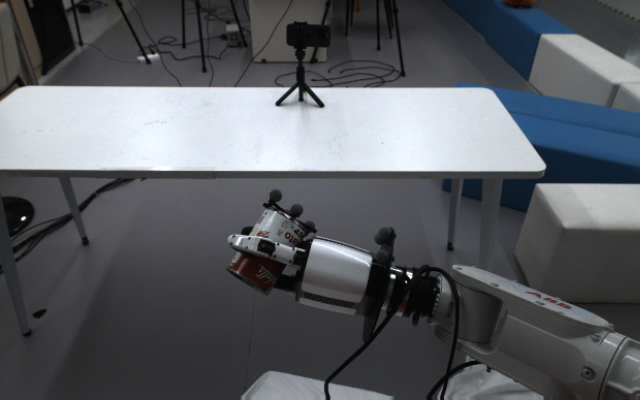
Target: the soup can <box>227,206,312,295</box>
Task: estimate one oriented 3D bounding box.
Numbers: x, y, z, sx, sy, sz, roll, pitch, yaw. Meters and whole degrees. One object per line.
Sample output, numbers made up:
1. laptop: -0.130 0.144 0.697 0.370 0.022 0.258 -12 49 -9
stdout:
1. soup can: -0.072 0.070 0.661 0.067 0.067 0.101 24 72 28
